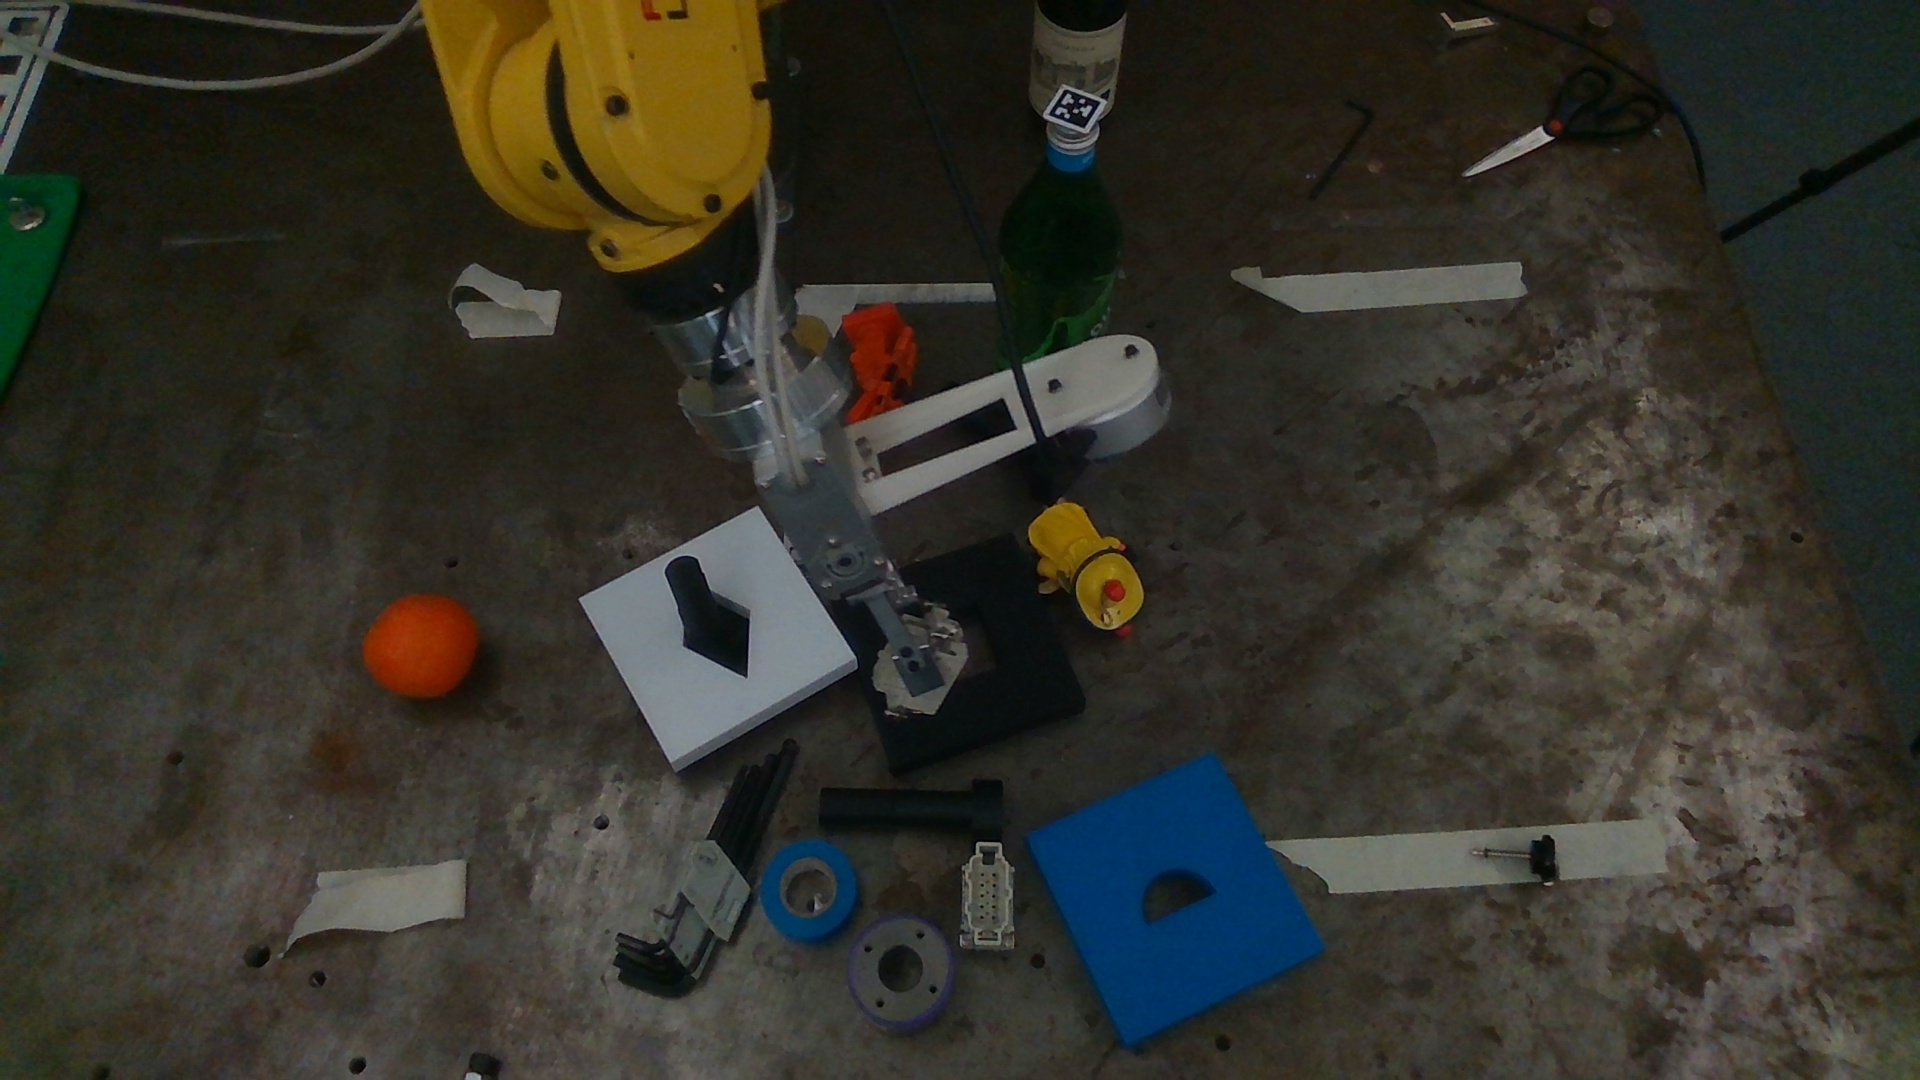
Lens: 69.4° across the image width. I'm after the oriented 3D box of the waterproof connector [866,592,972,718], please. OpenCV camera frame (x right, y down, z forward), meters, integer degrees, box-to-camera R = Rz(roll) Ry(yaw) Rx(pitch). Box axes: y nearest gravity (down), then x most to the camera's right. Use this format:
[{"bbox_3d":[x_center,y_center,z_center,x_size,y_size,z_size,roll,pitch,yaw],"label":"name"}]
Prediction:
[{"bbox_3d":[-0.024,0.064,0.762,0.038,0.069,0.037,18,28,-28],"label":"waterproof connector"}]
